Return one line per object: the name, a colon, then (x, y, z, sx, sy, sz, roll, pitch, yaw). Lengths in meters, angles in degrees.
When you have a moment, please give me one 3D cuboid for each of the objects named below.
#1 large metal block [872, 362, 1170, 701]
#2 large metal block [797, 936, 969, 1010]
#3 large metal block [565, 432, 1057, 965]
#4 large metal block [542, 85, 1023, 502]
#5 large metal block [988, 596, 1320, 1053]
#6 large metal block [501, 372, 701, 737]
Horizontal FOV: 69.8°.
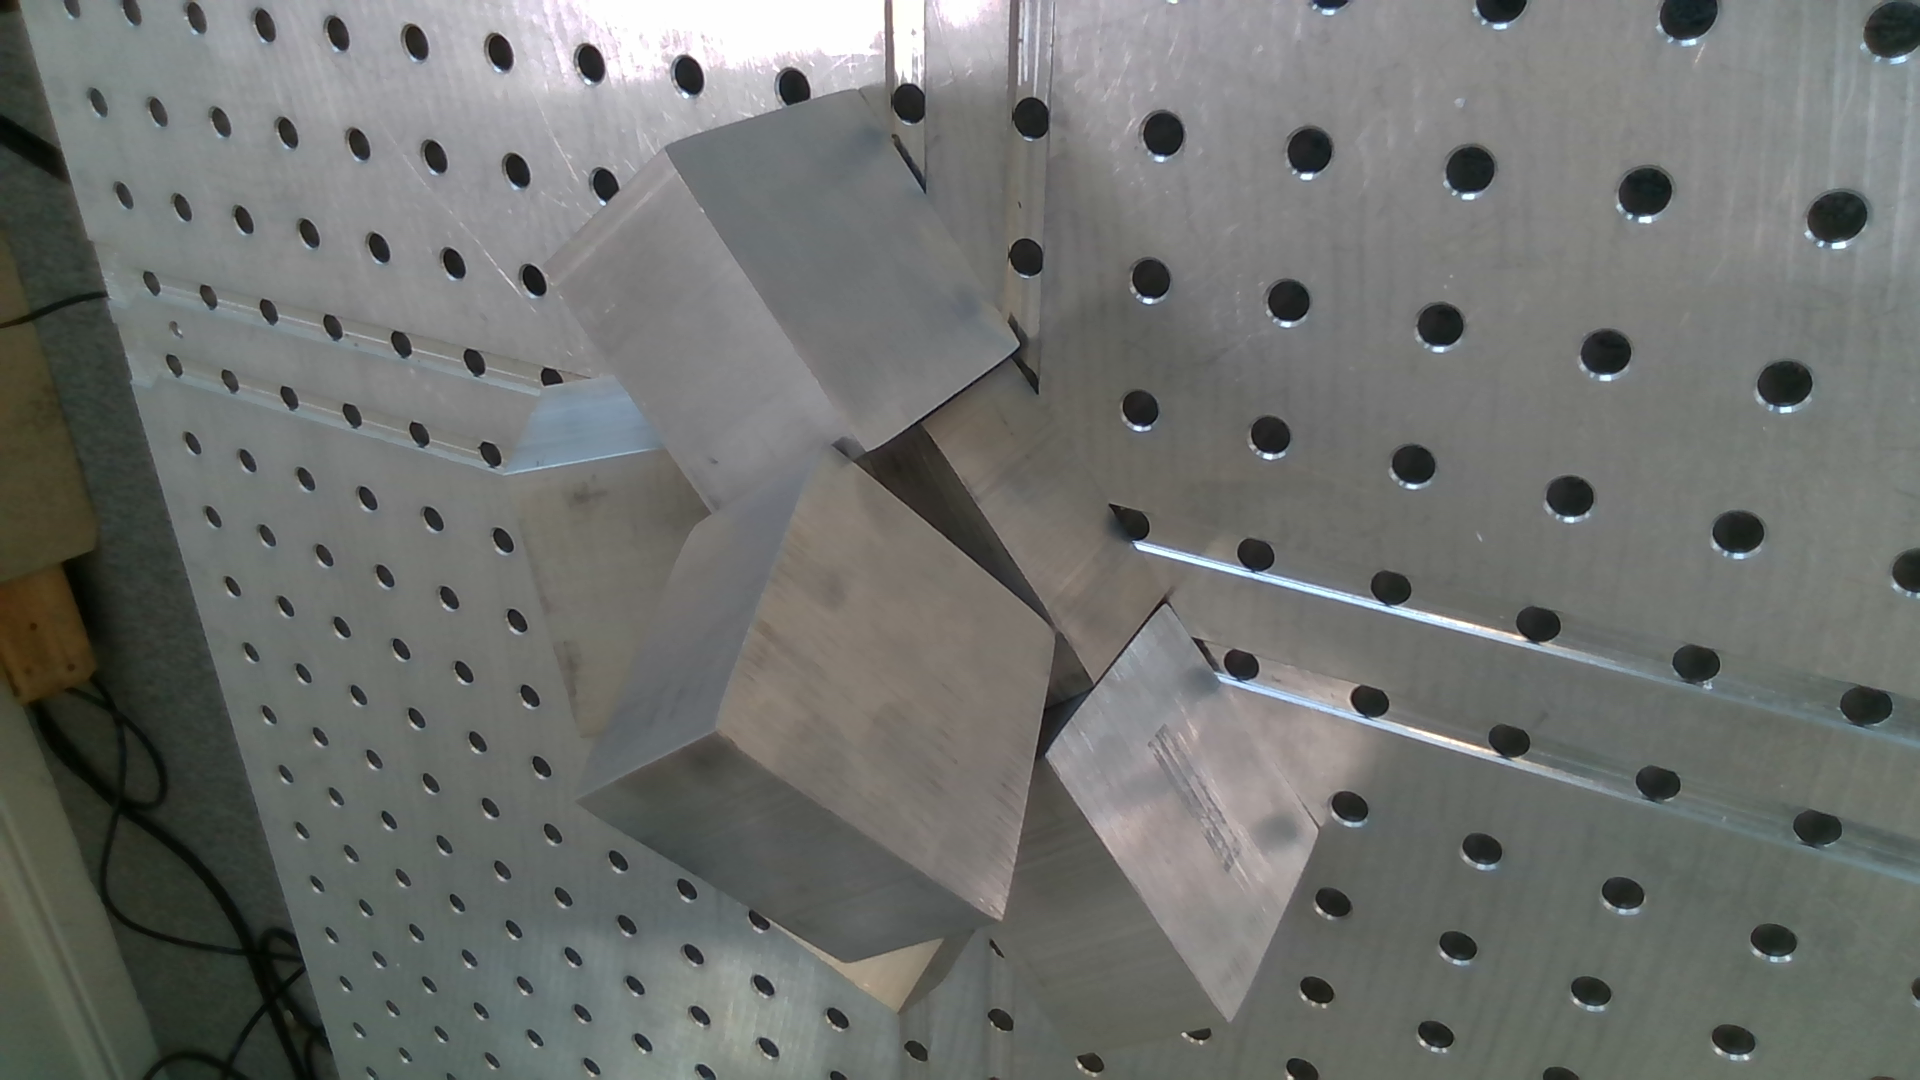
large metal block: (-0.003, 0.007, 0.383, 0.080, 0.050, 0.080, -29, 98, 39)
large metal block: (-0.030, 0.090, 0.415, 0.080, 0.080, 0.050, 32, 86, 13)
large metal block: (-0.029, 0.037, 0.313, 0.050, 0.080, 0.080, -27, 124, 38)
large metal block: (-0.041, -0.059, 0.347, 0.050, 0.080, 0.080, -28, 99, 39)
large metal block: (0.043, 0.075, 0.370, 0.050, 0.080, 0.080, -29, 98, 39)
large metal block: (-0.091, -0.002, 0.402, 0.050, 0.080, 0.080, -10, 114, -4)
